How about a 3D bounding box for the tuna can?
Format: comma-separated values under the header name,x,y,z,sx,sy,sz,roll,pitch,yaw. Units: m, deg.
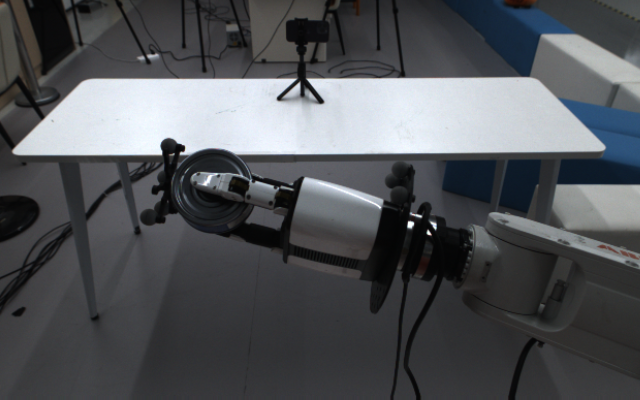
name,x,y,z,sx,sy,sz,roll,pitch,yaw
tuna can,-0.108,-0.011,0.509,0.085,0.034,0.085,1,73,-5
